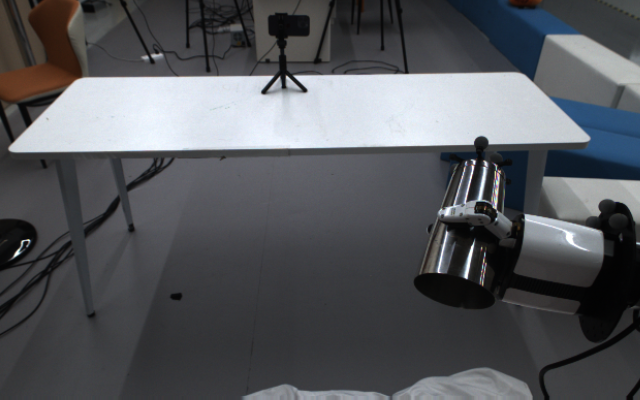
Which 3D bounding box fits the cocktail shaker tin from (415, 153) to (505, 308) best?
[{"bbox_3d":[0.179,0.034,0.590,0.093,0.093,0.170,14,60,17],"label":"cocktail shaker tin"}]
